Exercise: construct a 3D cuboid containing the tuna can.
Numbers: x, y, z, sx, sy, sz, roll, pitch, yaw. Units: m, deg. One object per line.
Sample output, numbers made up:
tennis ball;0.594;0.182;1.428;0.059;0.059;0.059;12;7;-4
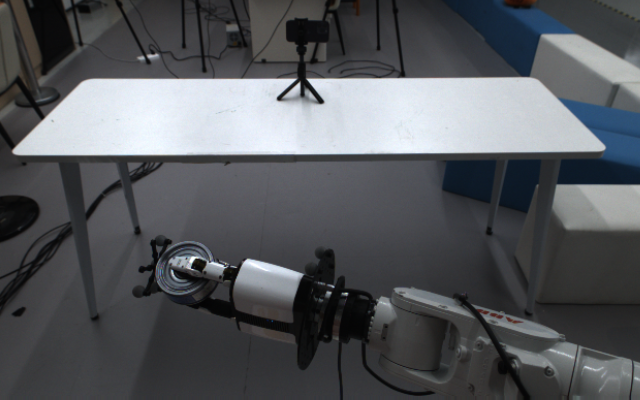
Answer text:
tuna can;-0.183;0.106;0.677;0.085;0.034;0.085;-2;59;3
